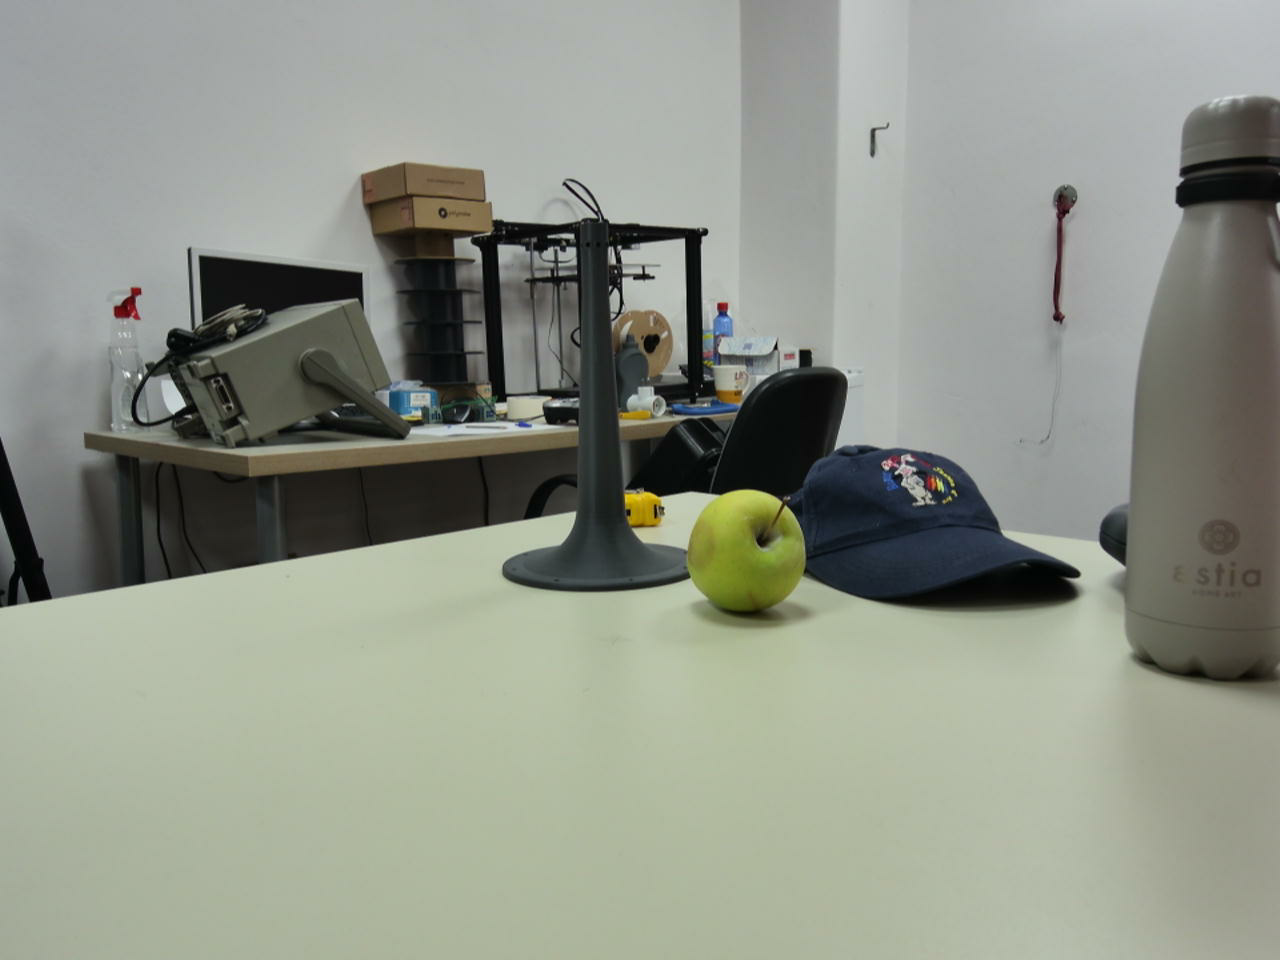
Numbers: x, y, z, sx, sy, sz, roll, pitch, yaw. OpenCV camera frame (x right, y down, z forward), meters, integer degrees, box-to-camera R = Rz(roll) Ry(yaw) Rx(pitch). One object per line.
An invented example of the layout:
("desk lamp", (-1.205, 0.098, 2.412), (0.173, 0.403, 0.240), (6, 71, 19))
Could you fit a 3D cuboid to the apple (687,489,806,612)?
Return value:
("apple", (0.067, 0.044, 0.626), (0.072, 0.075, 0.077), (0, 6, 1))
